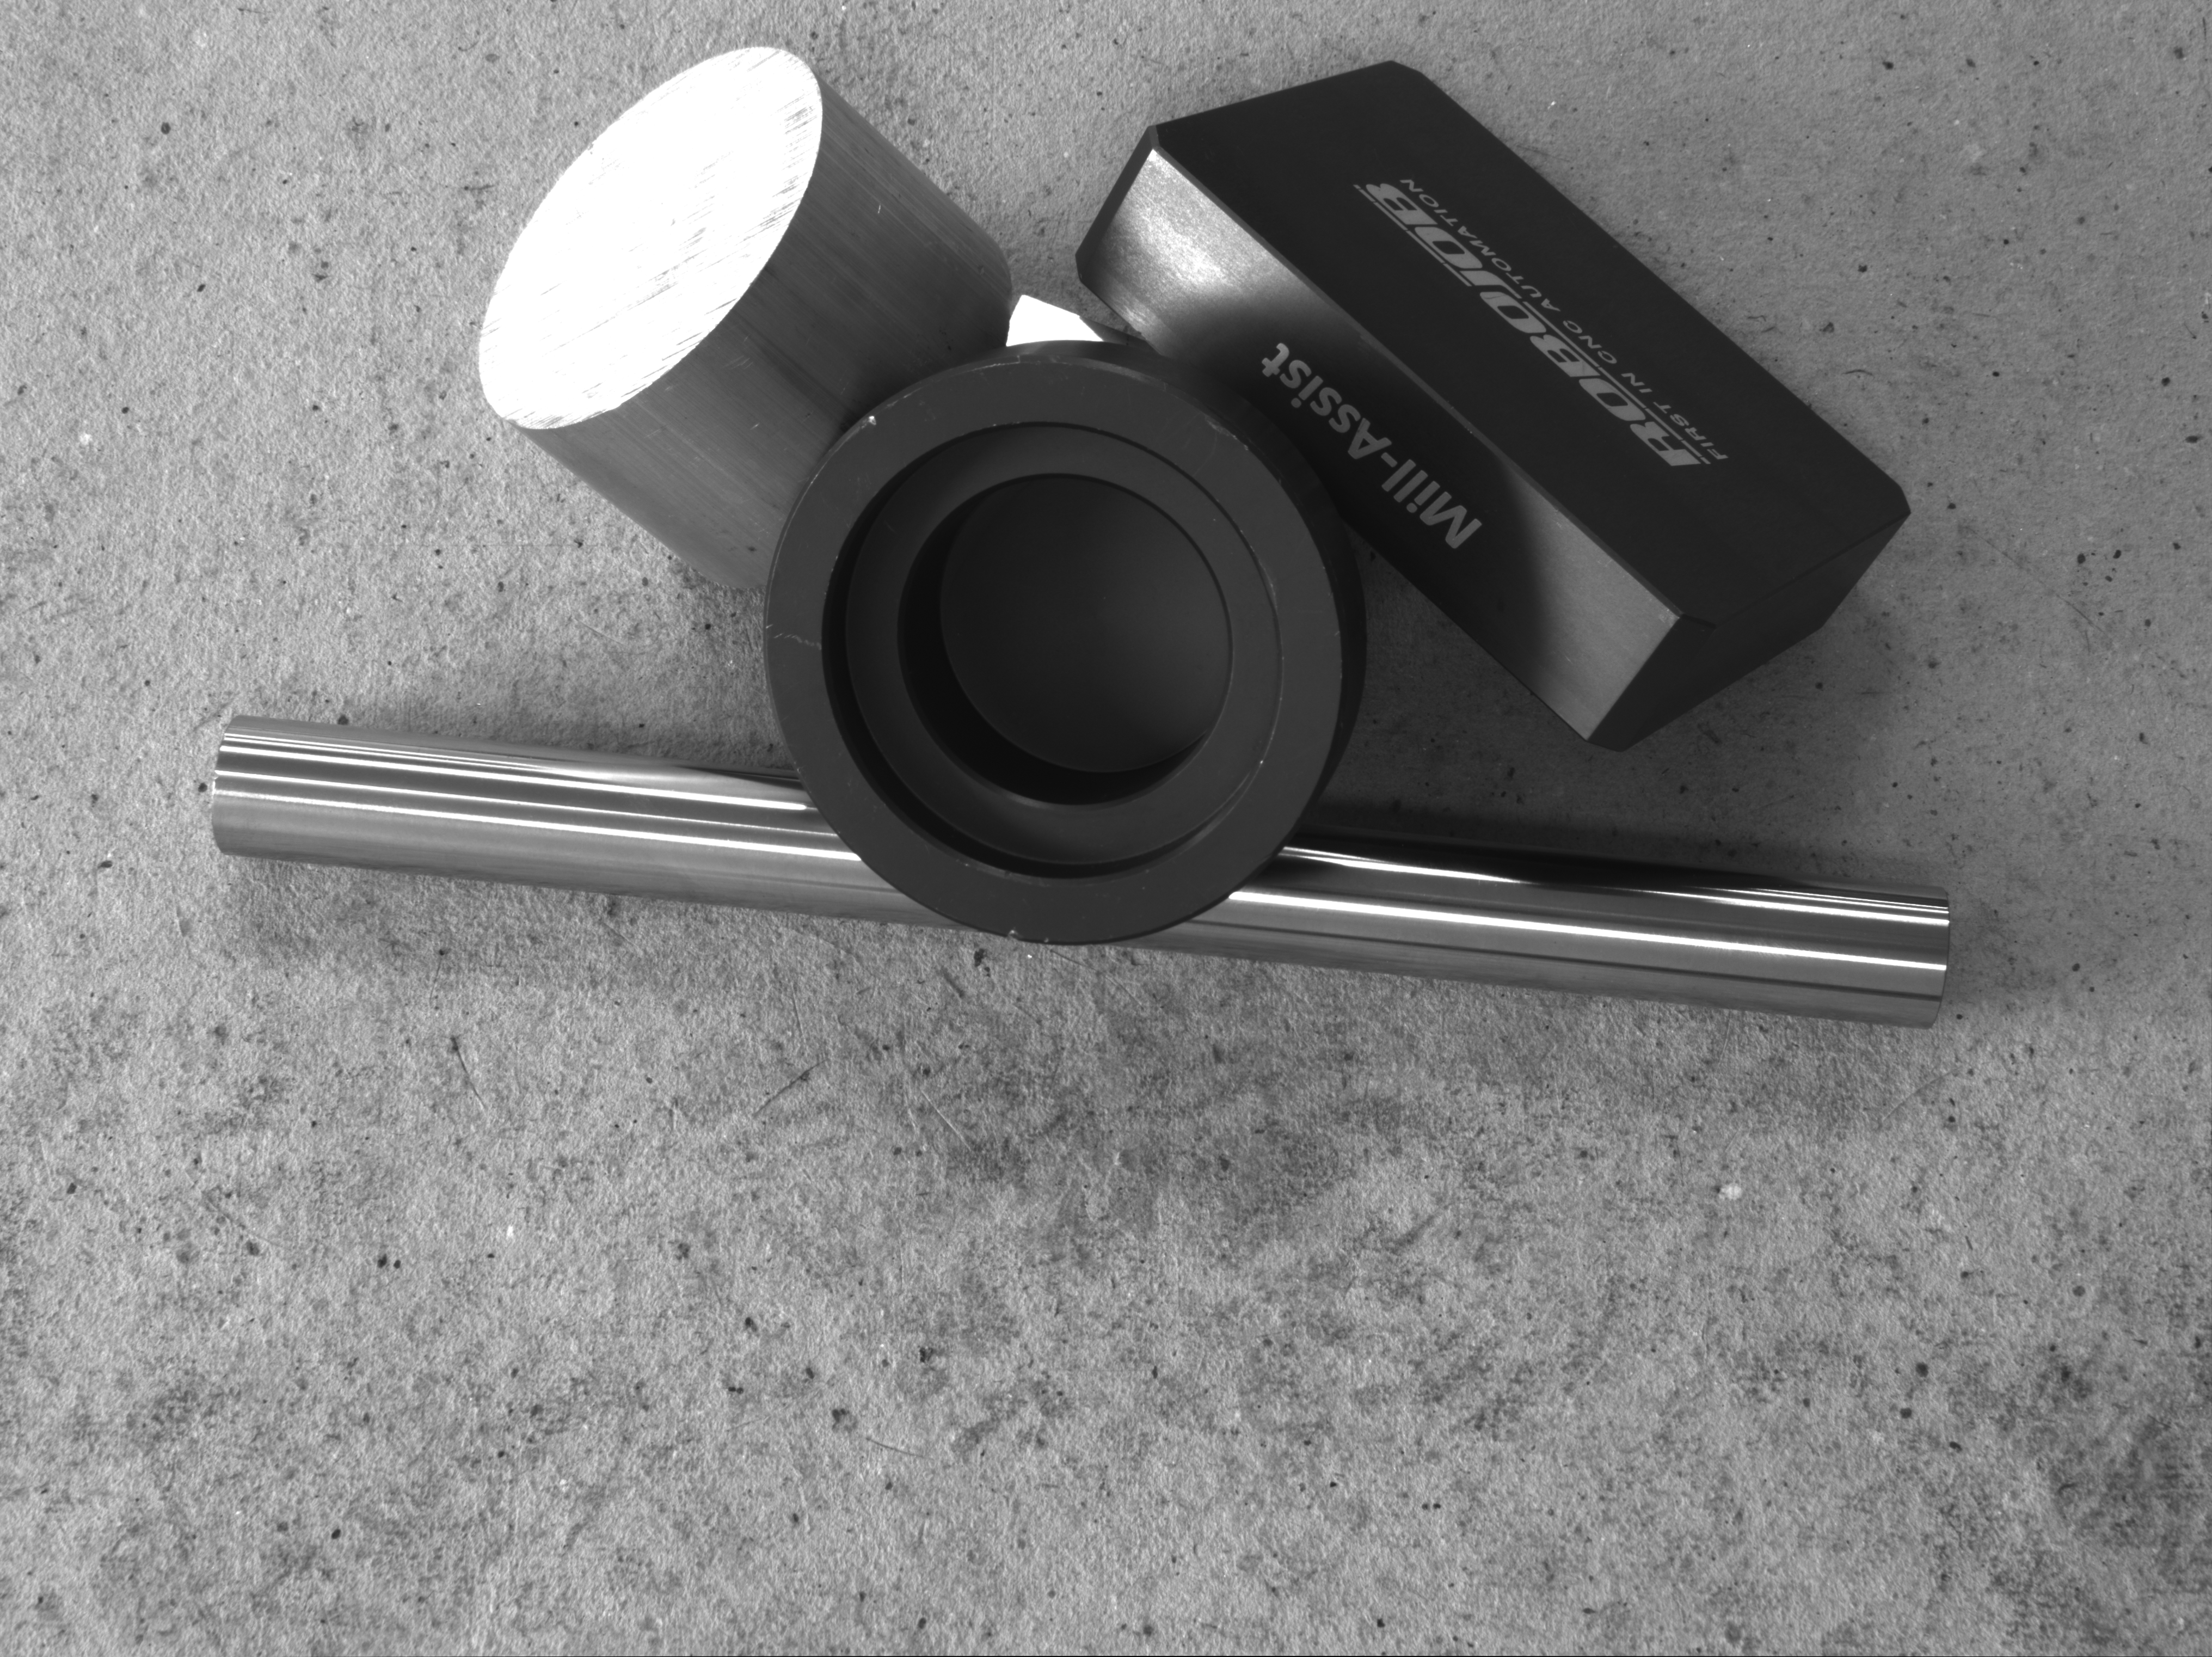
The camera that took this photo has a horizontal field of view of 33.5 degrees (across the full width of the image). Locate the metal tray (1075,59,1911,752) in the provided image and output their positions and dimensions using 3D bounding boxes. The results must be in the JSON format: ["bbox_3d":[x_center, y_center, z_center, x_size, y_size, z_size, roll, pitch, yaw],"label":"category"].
[{"bbox_3d":[0.069,-0.078,0.644,0.130,0.030,0.090,44,37,14],"label":"metal tray"}]

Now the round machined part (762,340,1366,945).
[{"bbox_3d":[-0.005,-0.033,0.616,0.098,0.042,0.098,3,105,12],"label":"round machined part"}]

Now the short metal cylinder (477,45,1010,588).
[{"bbox_3d":[-0.064,-0.089,0.644,0.080,0.050,0.080,-26,45,29],"label":"short metal cylinder"}]

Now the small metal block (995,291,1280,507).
[{"bbox_3d":[0.003,-0.065,0.654,0.050,0.050,0.025,22,72,8],"label":"small metal block"}]

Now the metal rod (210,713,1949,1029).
[{"bbox_3d":[-0.005,0.007,0.643,0.300,0.025,0.025,6,70,2],"label":"metal rod"}]
